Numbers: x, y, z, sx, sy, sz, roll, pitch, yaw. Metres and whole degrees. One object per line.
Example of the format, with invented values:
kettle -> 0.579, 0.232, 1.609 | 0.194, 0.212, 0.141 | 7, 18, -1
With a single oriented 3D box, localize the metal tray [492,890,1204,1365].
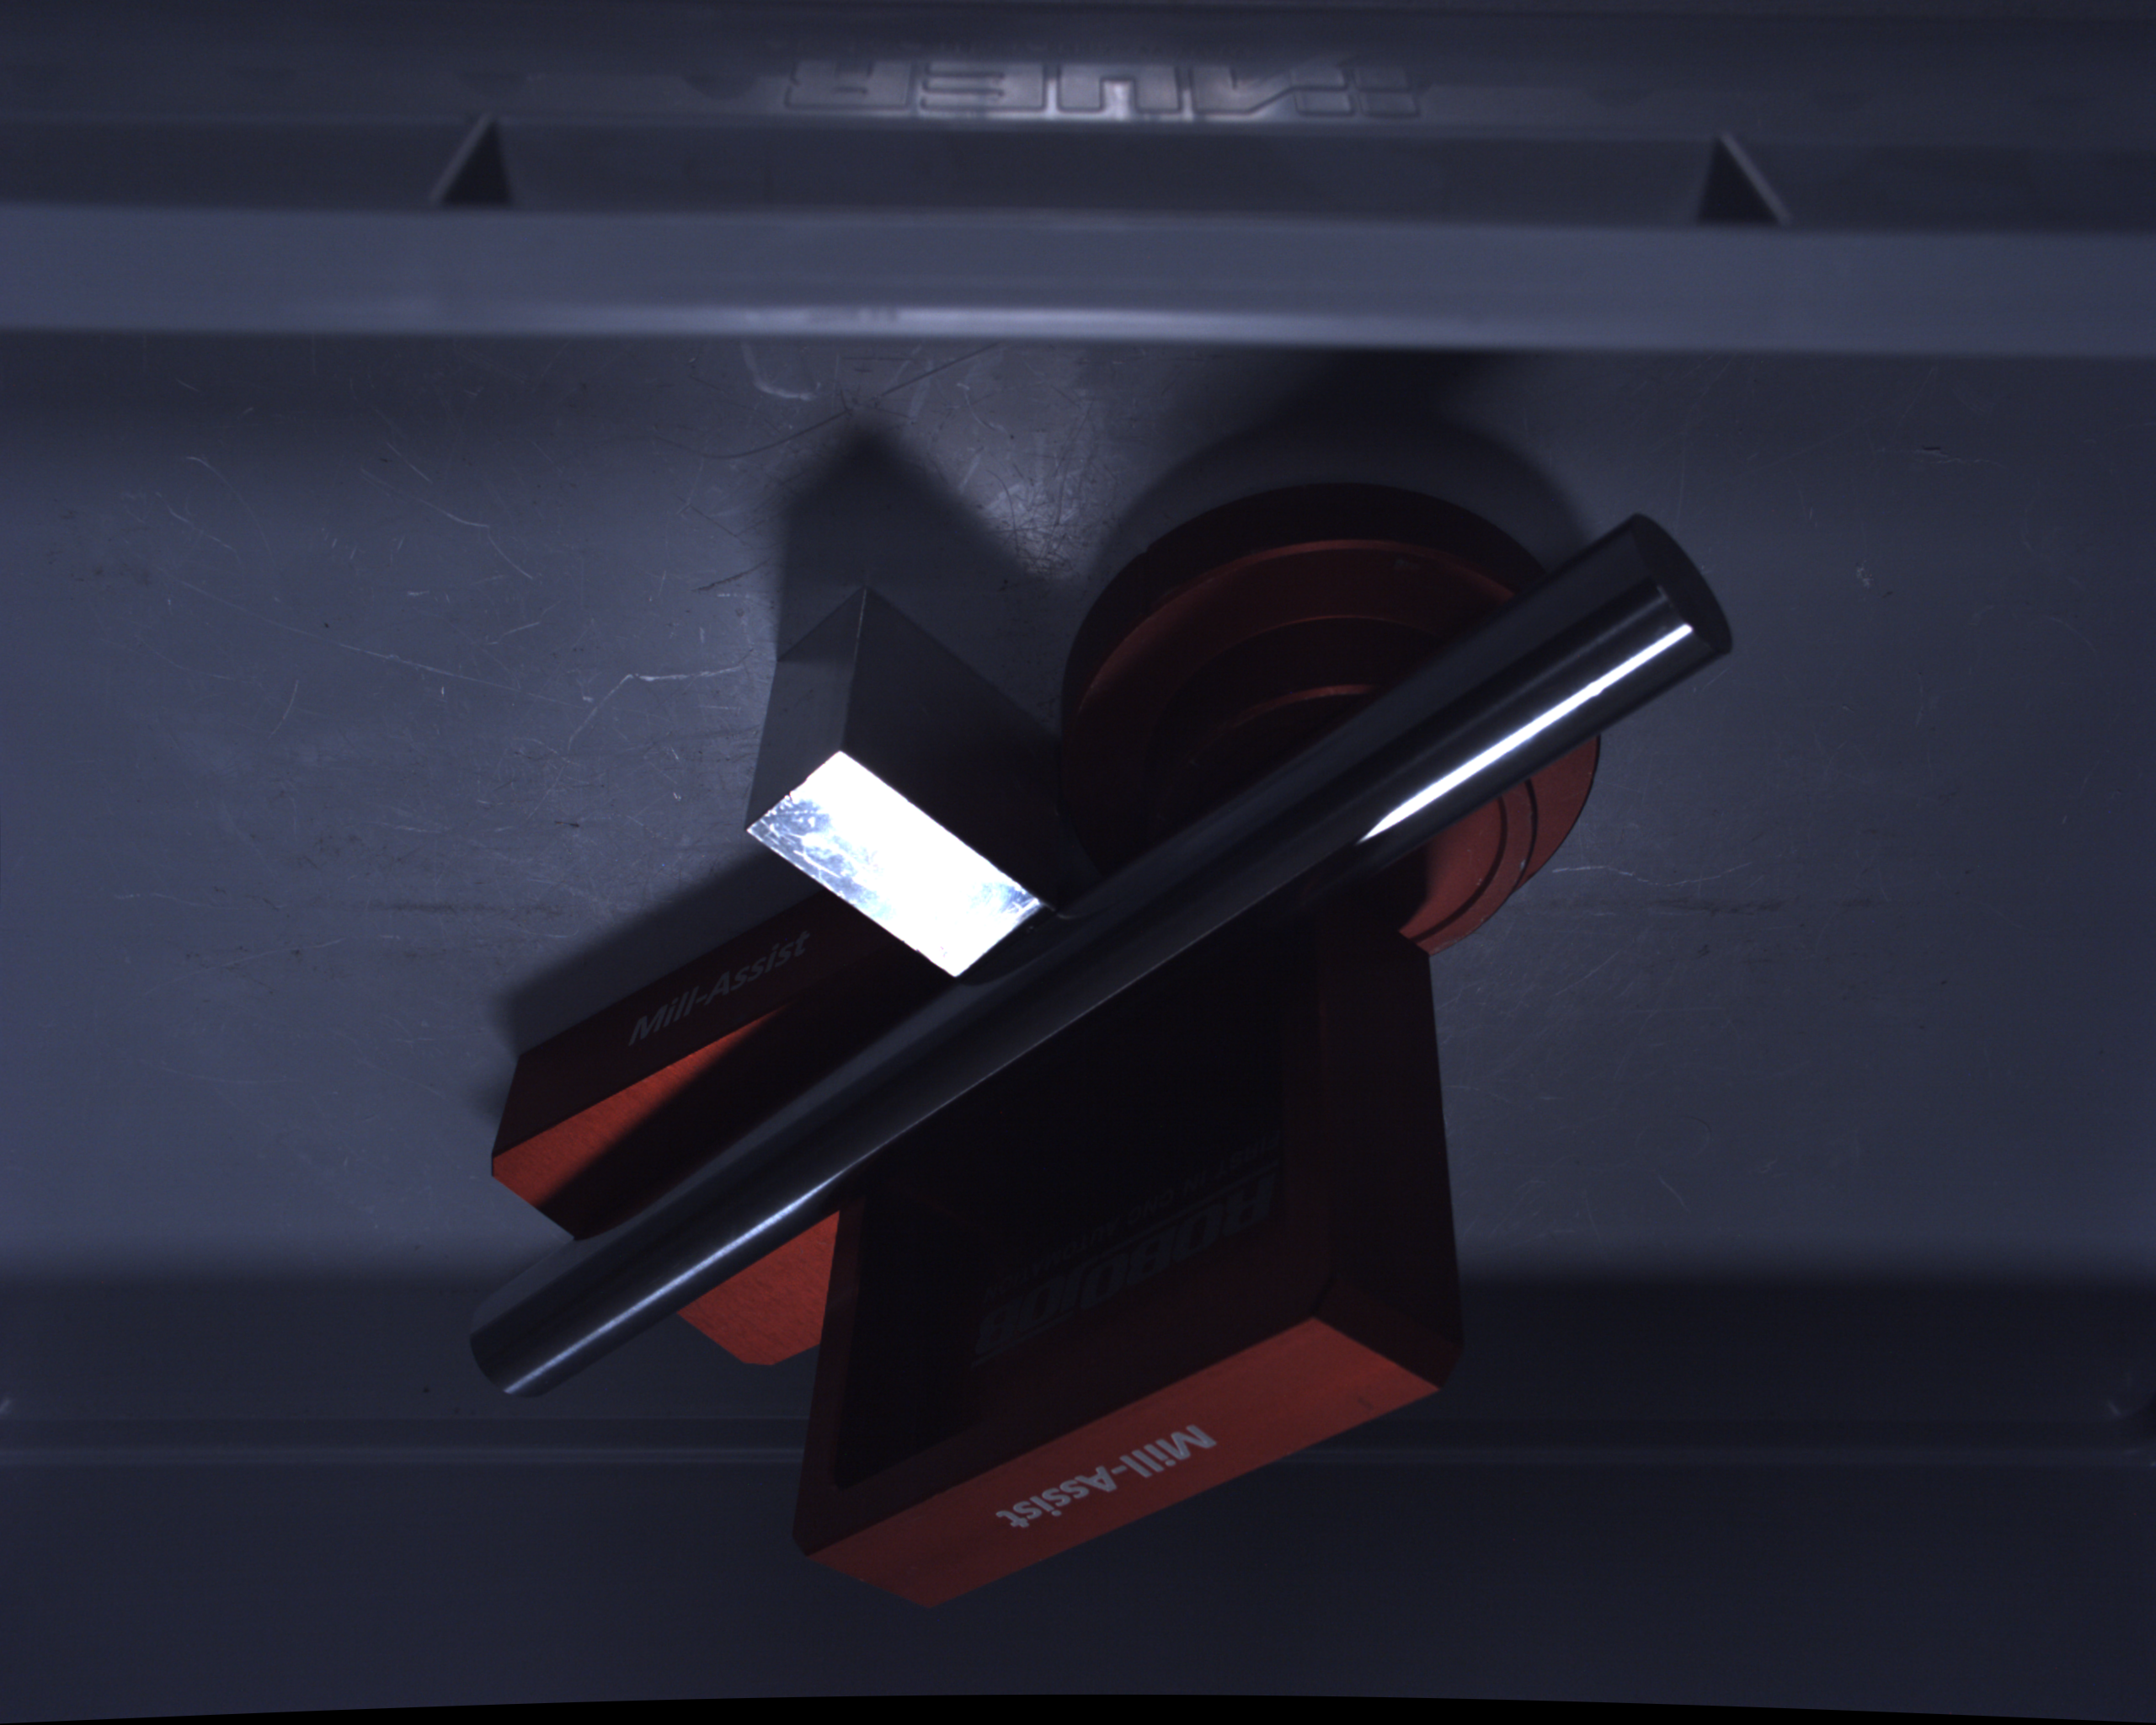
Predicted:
metal tray -> -0.047, 0.053, 0.449 | 0.130, 0.030, 0.090 | -28, 125, 21

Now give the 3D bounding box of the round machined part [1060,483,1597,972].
round machined part -> 0.046, -0.017, 0.382 | 0.099, 0.042, 0.097 | -1, 130, 0

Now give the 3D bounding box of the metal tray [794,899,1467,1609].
metal tray -> 0.006, 0.069, 0.374 | 0.030, 0.090, 0.130 | 34, 128, -29

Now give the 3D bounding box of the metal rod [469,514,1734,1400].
metal rod -> -0.017, 0.033, 0.383 | 0.299, 0.025, 0.025 | -35, 123, 30

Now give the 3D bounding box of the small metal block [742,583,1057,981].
small metal block -> -0.030, -0.015, 0.378 | 0.025, 0.050, 0.050 | -37, 121, 27
